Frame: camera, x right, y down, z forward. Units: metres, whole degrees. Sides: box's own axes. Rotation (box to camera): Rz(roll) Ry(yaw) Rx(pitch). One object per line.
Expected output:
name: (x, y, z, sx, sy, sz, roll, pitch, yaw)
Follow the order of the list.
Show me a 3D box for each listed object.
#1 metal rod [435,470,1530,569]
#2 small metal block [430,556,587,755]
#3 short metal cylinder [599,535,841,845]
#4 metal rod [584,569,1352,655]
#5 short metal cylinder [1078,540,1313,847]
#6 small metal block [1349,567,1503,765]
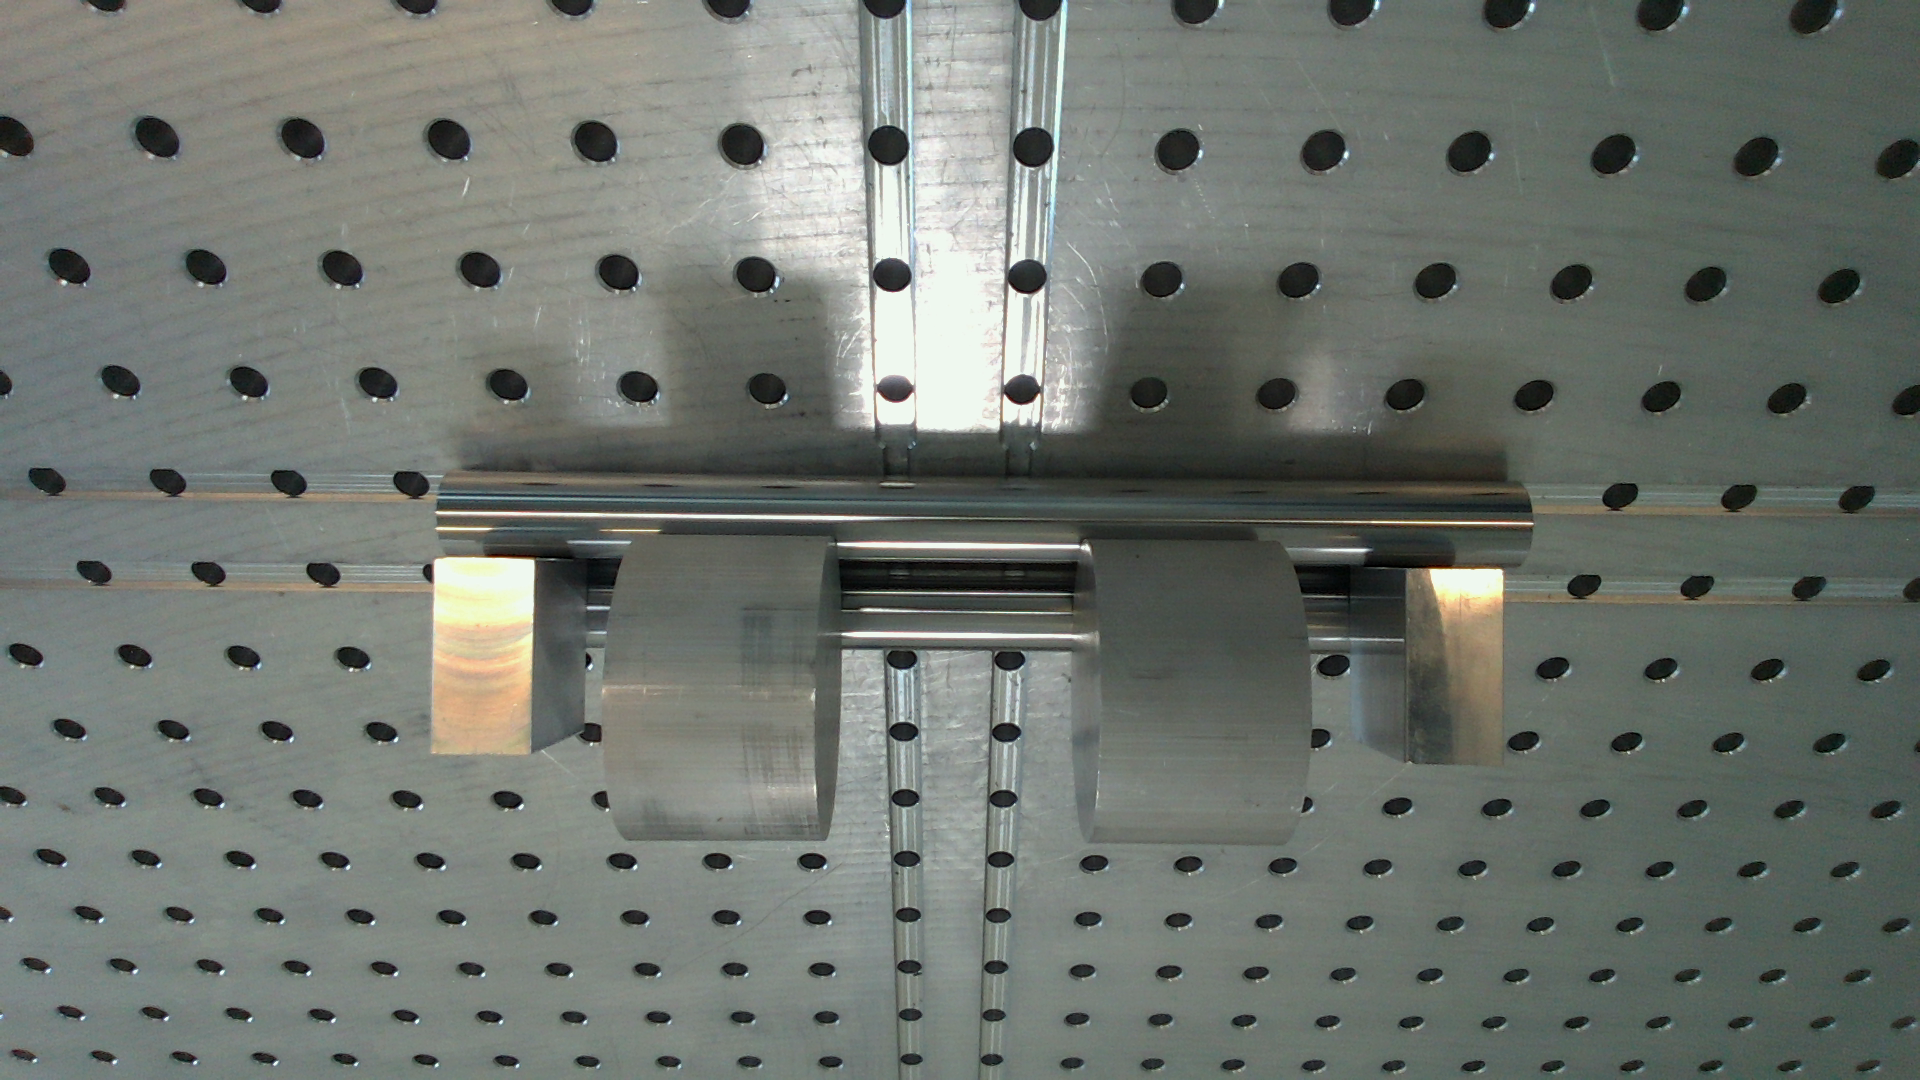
metal rod: (0.007, -0.006, 0.389, 0.300, 0.025, 0.025, 1, 130, -1)
small metal block: (-0.121, 0.030, 0.372, 0.025, 0.050, 0.050, 1, 88, 0)
short metal cylinder: (-0.059, 0.039, 0.361, 0.050, 0.080, 0.080, 0, 130, 0)
metal rod: (0.004, 0.021, 0.412, 0.300, 0.025, 0.025, 1, 130, -1)
short metal cylinder: (0.058, 0.040, 0.363, 0.050, 0.080, 0.080, 0, 130, 0)
small metal block: (0.126, 0.033, 0.376, 0.025, 0.050, 0.050, 1, 89, 0)
